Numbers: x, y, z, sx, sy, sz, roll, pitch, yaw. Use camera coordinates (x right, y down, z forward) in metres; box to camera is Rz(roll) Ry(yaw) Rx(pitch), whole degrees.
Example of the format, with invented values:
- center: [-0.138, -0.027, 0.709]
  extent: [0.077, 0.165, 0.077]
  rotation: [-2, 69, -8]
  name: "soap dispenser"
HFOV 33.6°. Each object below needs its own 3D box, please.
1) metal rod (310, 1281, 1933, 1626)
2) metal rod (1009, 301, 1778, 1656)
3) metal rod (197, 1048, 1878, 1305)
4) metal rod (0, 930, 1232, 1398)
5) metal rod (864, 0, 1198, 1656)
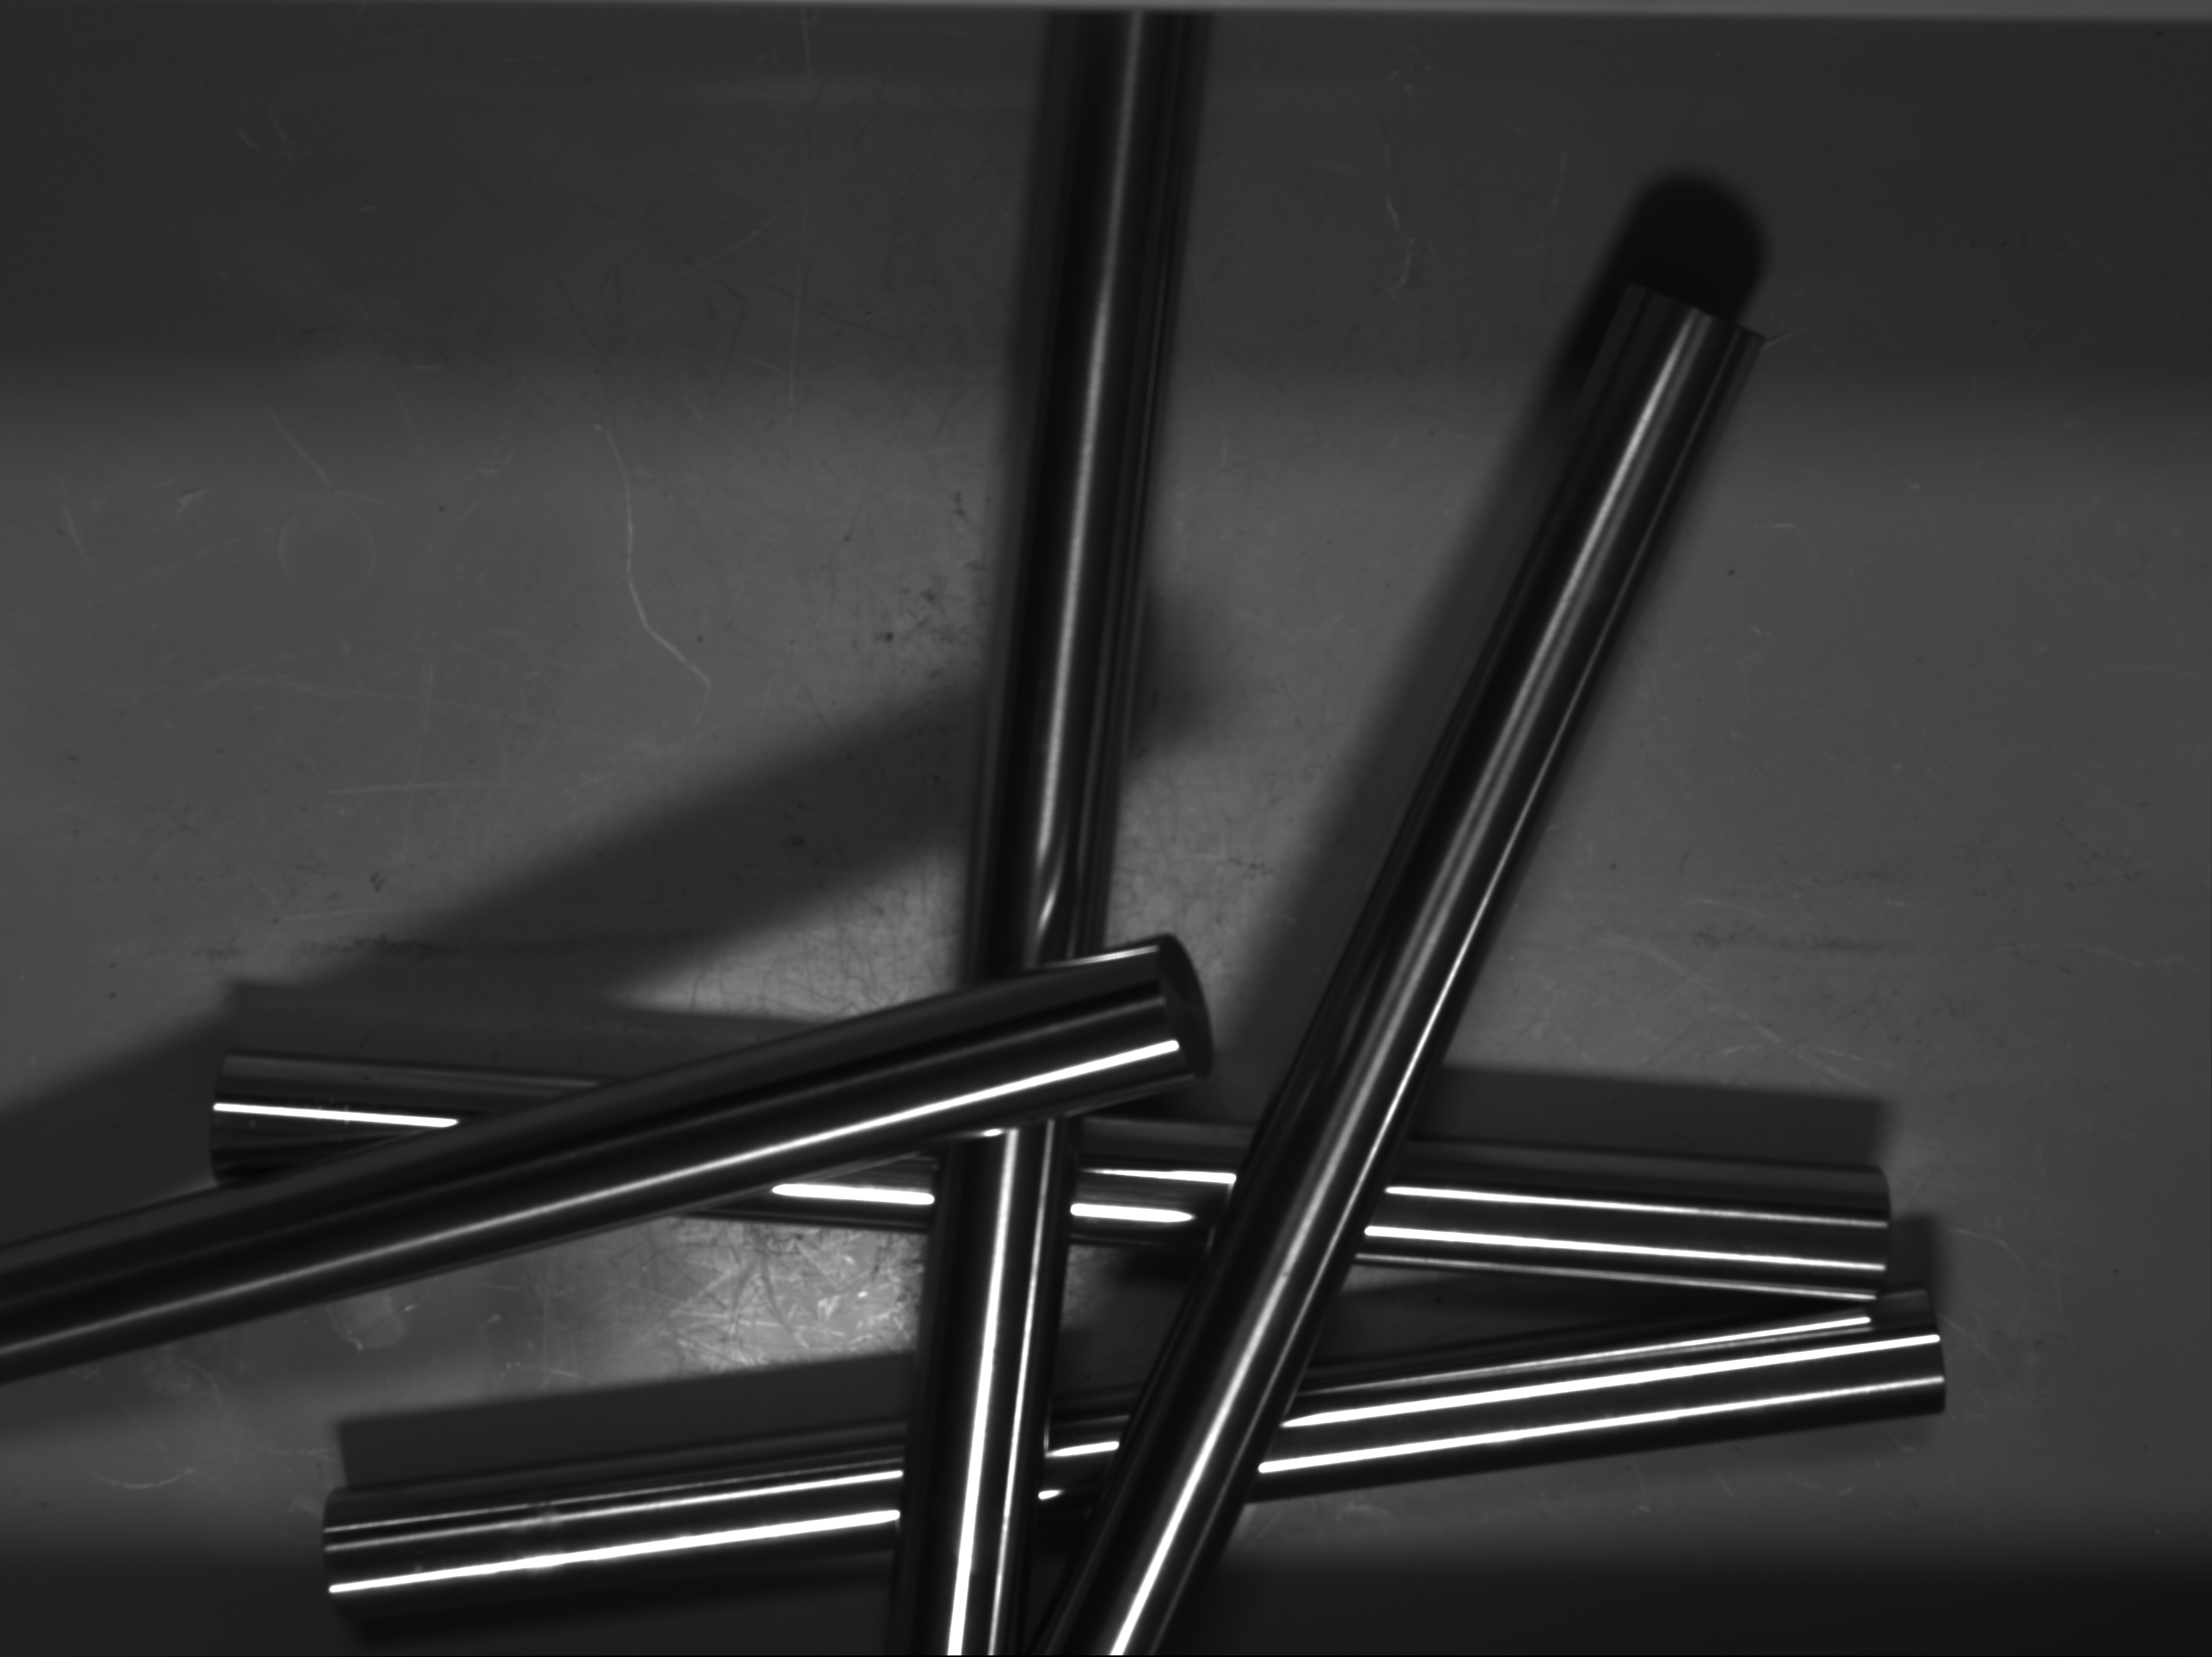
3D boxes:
- center: [0.002, 0.117, 0.684]
  extent: [0.300, 0.025, 0.025]
  rotation: [-8, 110, 2]
  name: "metal rod"
- center: [0.040, 0.051, 0.640]
  extent: [0.025, 0.025, 0.300]
  rotation: [23, 100, -9]
  name: "metal rod"
- center: [-0.011, 0.063, 0.665]
  extent: [0.300, 0.025, 0.025]
  rotation: [4, 110, -2]
  name: "metal rod"
- center: [-0.125, 0.069, 0.639]
  extent: [0.300, 0.025, 0.025]
  rotation: [-16, 109, 11]
  name: "metal rod"
- center: [-0.014, 0.003, 0.625]
  extent: [0.025, 0.025, 0.300]
  rotation: [6, 103, -3]
  name: "metal rod"
